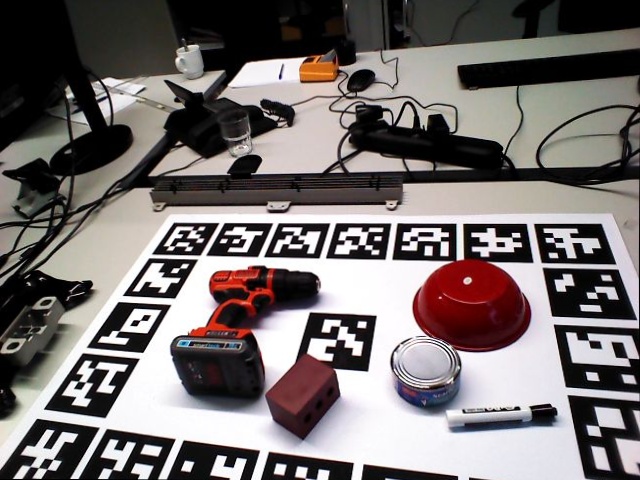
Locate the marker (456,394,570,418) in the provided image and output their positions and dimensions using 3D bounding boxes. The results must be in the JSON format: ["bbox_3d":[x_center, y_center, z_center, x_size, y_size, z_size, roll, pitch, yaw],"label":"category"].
[{"bbox_3d":[0.216,0.186,0.580,0.121,0.020,0.019,-7,39,6],"label":"marker"}]

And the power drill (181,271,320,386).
[{"bbox_3d":[-0.103,0.117,0.737,0.185,0.057,0.186,1,36,11],"label":"power drill"}]

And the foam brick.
[{"bbox_3d":[-0.011,0.188,0.626,0.051,0.053,0.077,18,47,32],"label":"foam brick"}]

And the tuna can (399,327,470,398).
[{"bbox_3d":[0.141,0.150,0.637,0.086,0.034,0.085,-6,37,4],"label":"tuna can"}]

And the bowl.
[{"bbox_3d":[0.213,0.070,0.723,0.162,0.055,0.161,-10,29,5],"label":"bowl"}]
